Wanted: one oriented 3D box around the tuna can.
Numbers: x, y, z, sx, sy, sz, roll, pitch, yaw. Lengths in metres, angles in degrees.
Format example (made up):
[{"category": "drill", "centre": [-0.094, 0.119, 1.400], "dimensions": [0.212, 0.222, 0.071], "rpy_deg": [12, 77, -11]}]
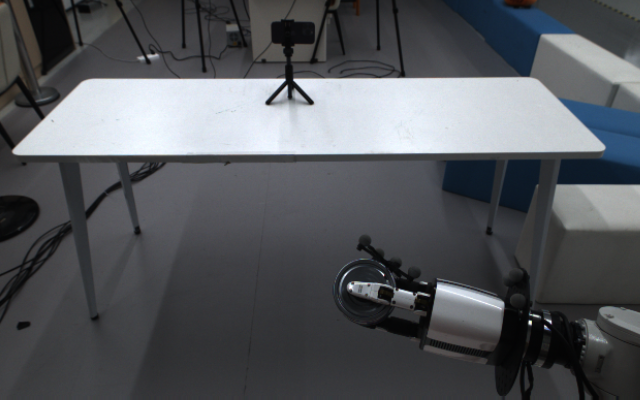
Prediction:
[{"category": "tuna can", "centre": [0.065, 0.128, 0.645], "dimensions": [0.085, 0.034, 0.085], "rpy_deg": [-4, 69, 10]}]
